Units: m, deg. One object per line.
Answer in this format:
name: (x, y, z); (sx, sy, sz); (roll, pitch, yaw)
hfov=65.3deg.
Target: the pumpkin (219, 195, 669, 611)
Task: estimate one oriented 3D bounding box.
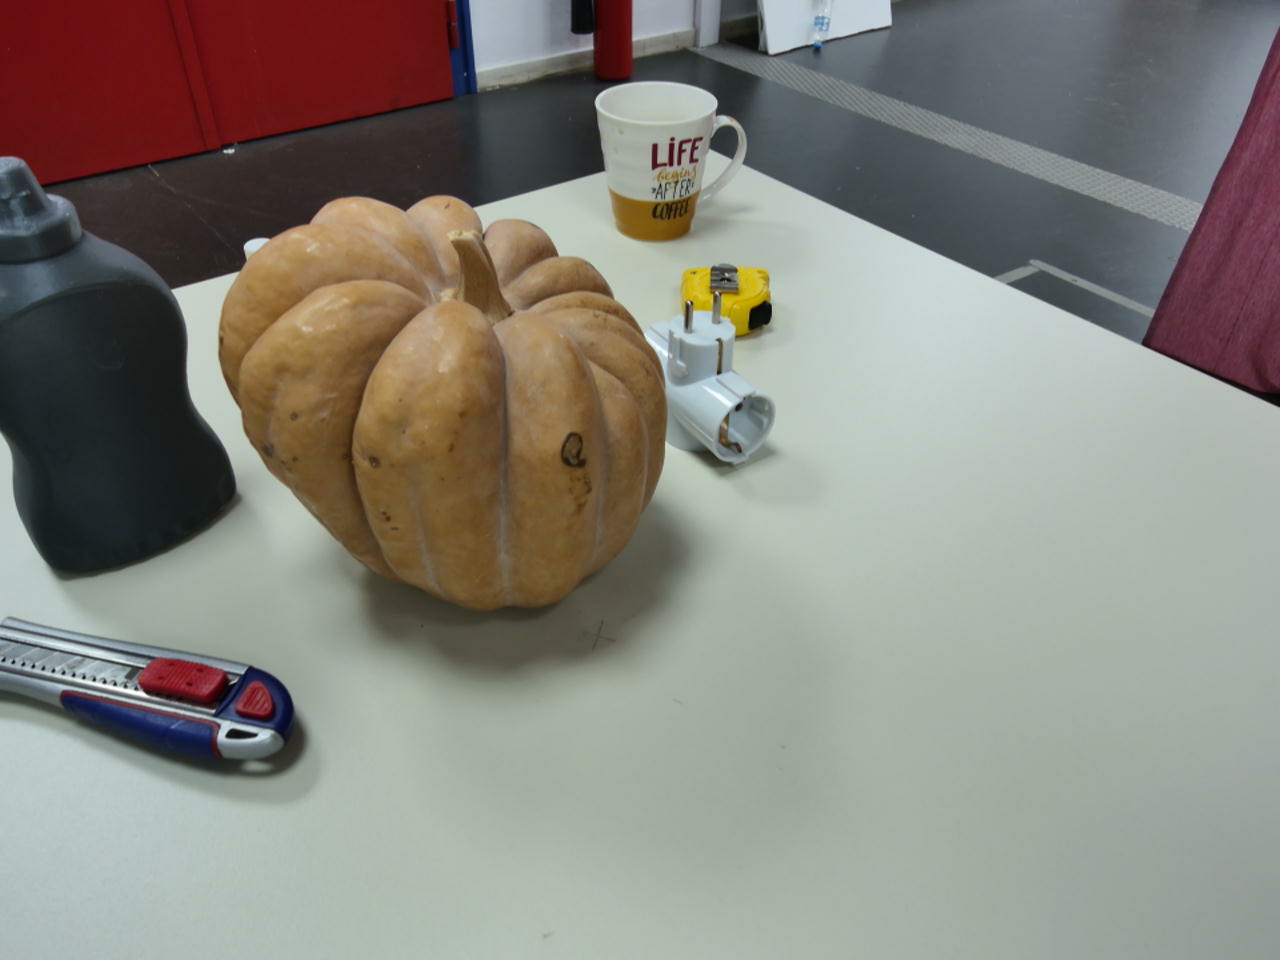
pumpkin: (-0.083, -0.034, 0.456); (0.199, 0.177, 0.198); (1, 38, 0)
